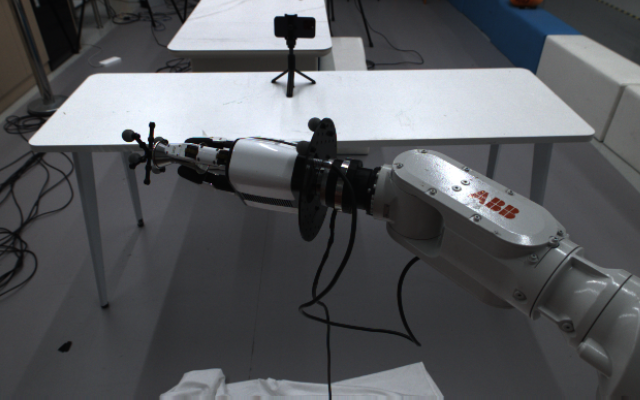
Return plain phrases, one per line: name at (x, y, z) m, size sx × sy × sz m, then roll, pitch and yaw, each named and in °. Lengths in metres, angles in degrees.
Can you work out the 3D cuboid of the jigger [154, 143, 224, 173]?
jigger at (-0.188, -0.066, 0.676) m, size 0.071 × 0.043 × 0.043 m, roll 5°, pitch 34°, yaw 14°
